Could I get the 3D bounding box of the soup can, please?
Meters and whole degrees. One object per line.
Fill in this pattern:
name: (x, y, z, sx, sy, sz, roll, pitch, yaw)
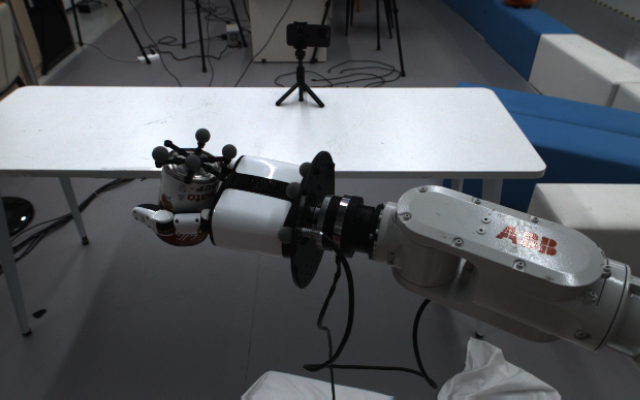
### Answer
soup can: (-0.159, -0.002, 0.581, 0.067, 0.101, 0.067, 14, 35, -10)
